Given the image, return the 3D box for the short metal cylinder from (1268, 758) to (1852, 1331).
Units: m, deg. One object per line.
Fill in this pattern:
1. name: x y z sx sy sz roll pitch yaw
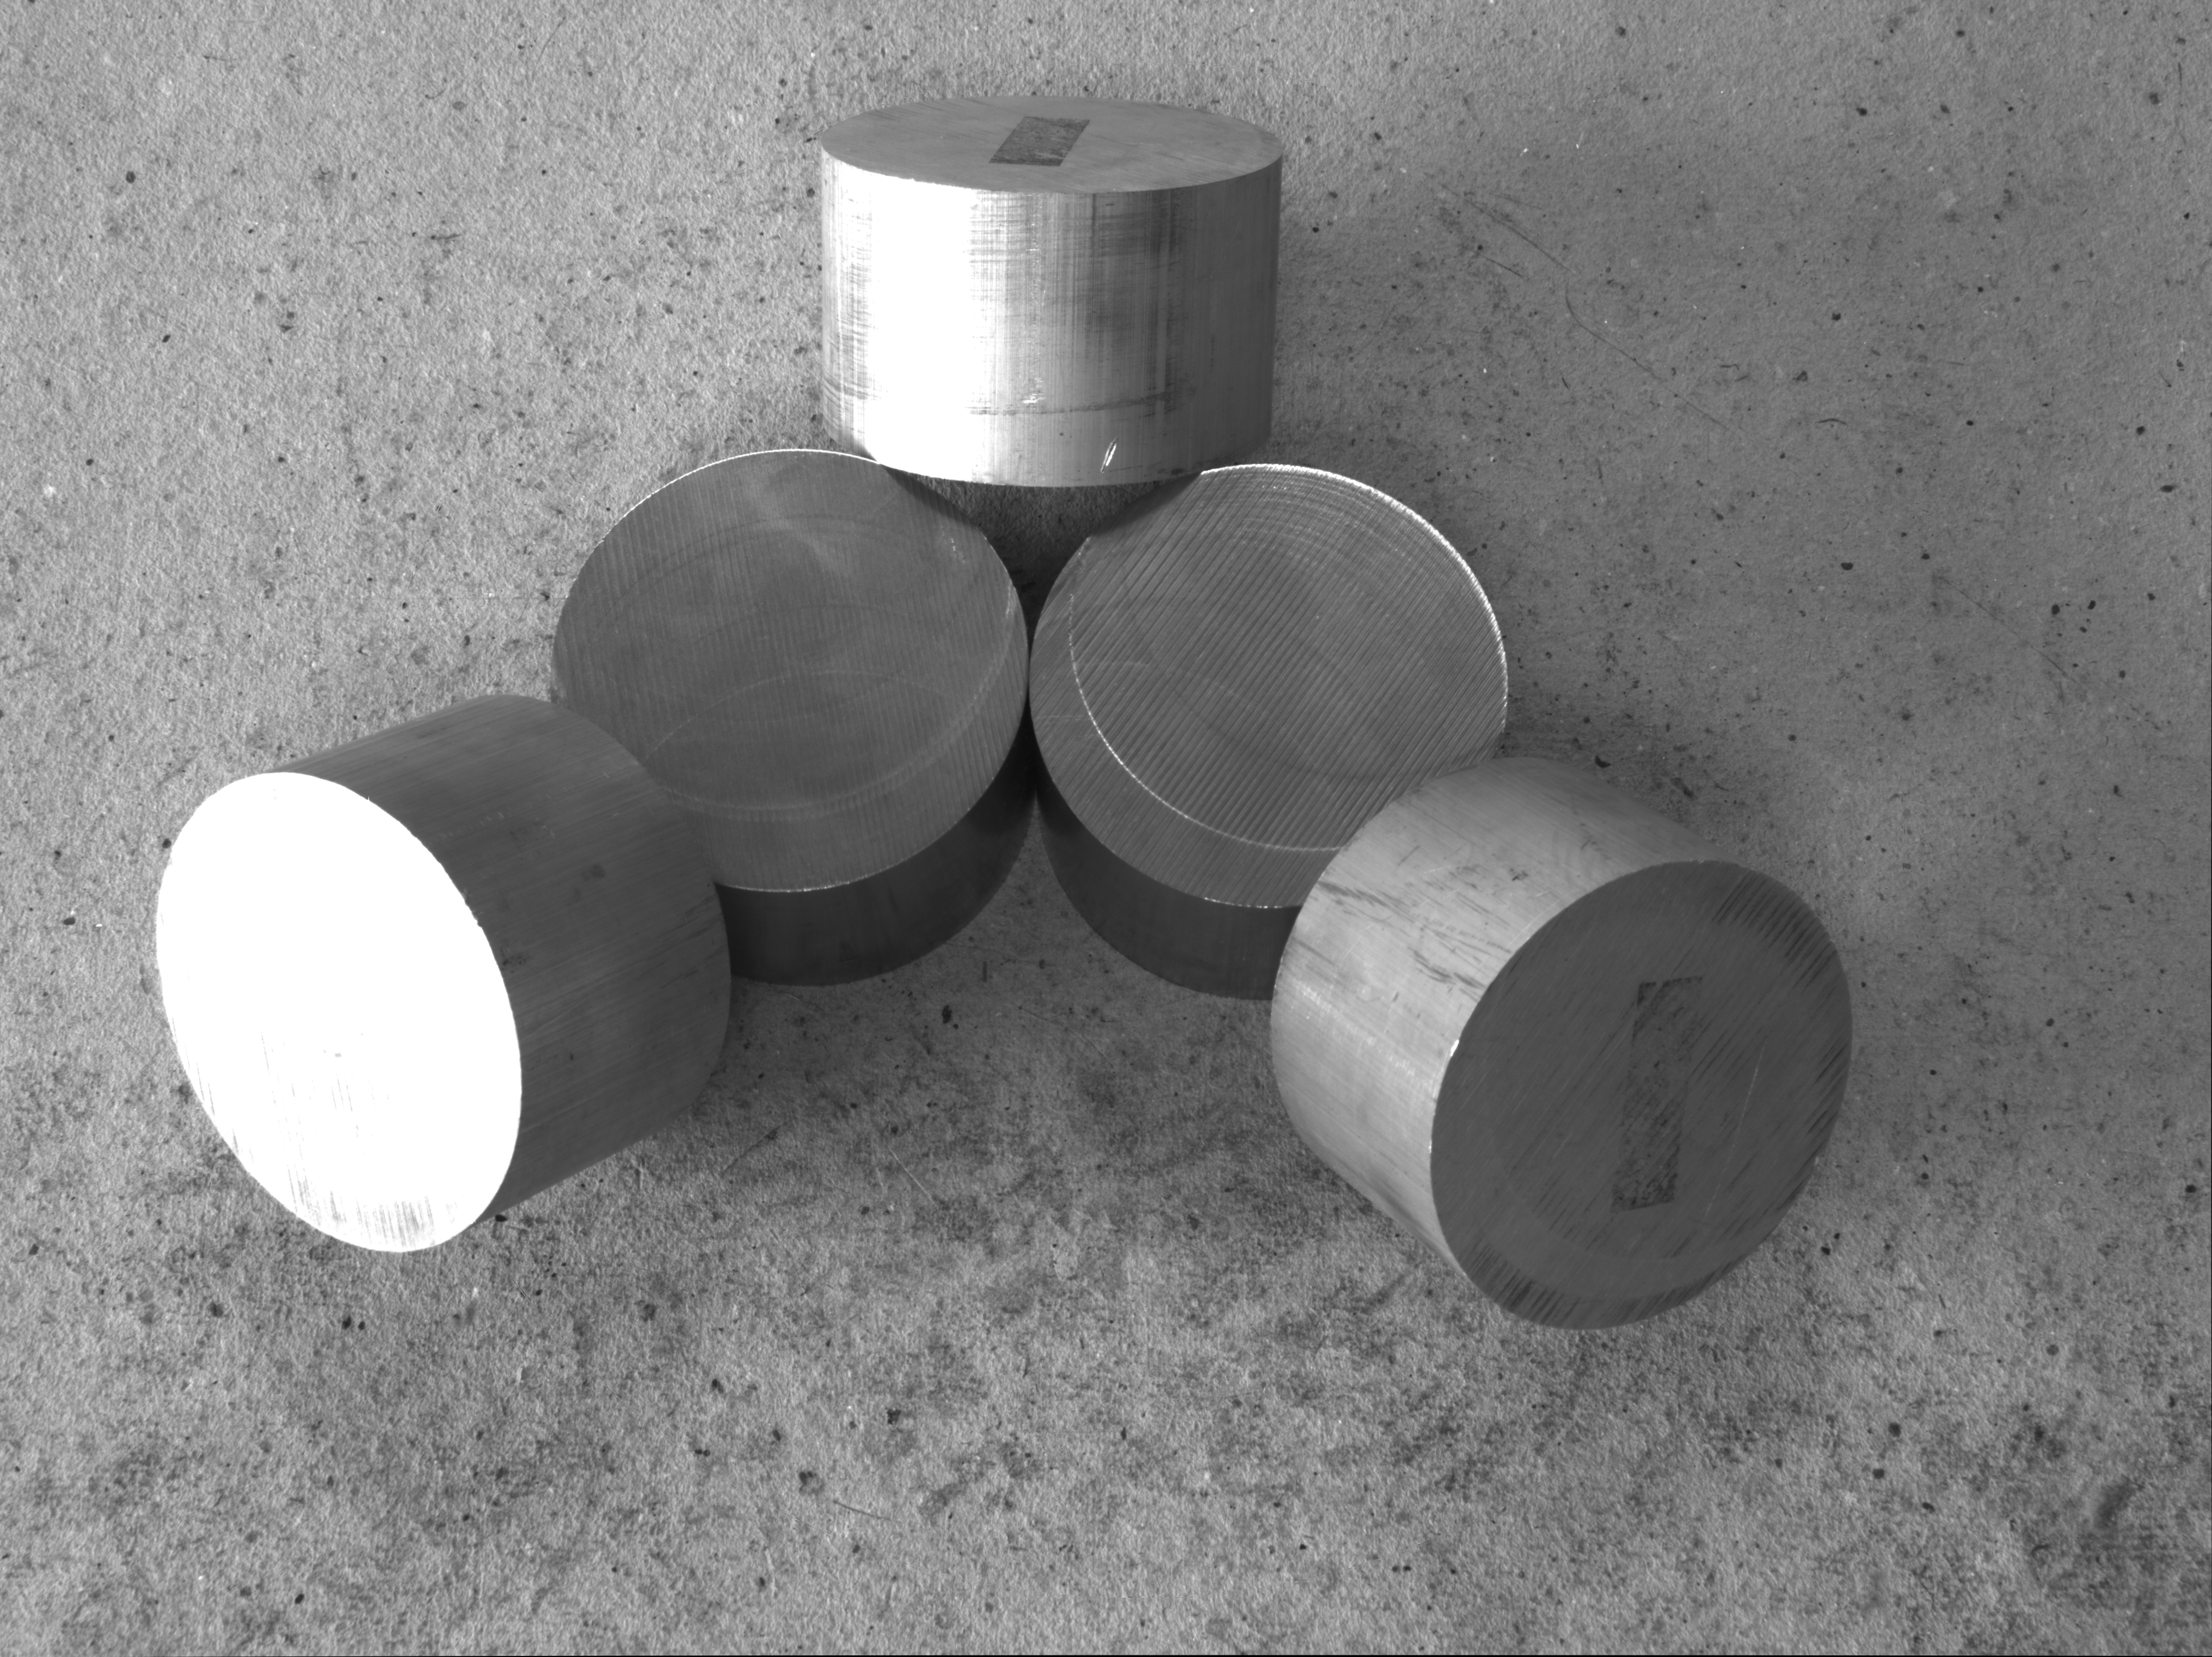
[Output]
1. short metal cylinder: 0.073 0.034 0.596 0.080 0.080 0.050 -35 32 -12

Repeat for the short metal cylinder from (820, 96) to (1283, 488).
1. short metal cylinder: -0.010 -0.096 0.644 0.080 0.080 0.050 2 112 1

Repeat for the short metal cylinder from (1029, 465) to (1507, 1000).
1. short metal cylinder: 0.027 -0.016 0.637 0.080 0.050 0.080 0 69 0

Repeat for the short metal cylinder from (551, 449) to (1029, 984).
1. short metal cylinder: -0.053 -0.019 0.638 0.080 0.050 0.080 0 69 0

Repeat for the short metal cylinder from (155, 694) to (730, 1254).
1. short metal cylinder: -0.109 0.023 0.600 0.080 0.080 0.050 45 36 15
